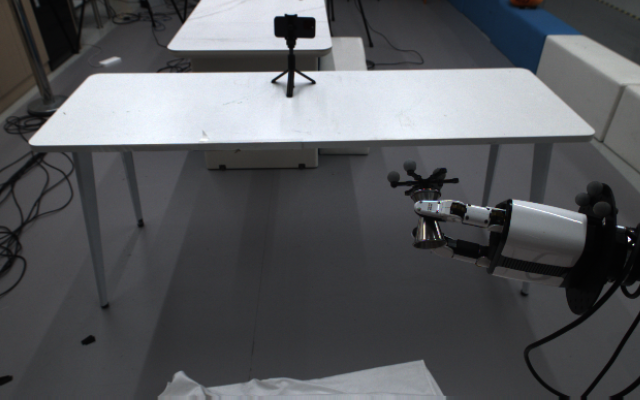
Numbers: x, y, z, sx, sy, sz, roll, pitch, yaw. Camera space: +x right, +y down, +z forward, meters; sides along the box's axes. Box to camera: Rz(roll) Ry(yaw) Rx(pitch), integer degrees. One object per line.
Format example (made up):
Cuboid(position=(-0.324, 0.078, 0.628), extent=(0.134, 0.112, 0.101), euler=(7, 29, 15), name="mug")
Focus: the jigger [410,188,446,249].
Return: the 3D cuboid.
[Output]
Cuboid(position=(0.138, 0.022, 0.621), extent=(0.043, 0.043, 0.071), euler=(1, 70, -2), name="jigger")
